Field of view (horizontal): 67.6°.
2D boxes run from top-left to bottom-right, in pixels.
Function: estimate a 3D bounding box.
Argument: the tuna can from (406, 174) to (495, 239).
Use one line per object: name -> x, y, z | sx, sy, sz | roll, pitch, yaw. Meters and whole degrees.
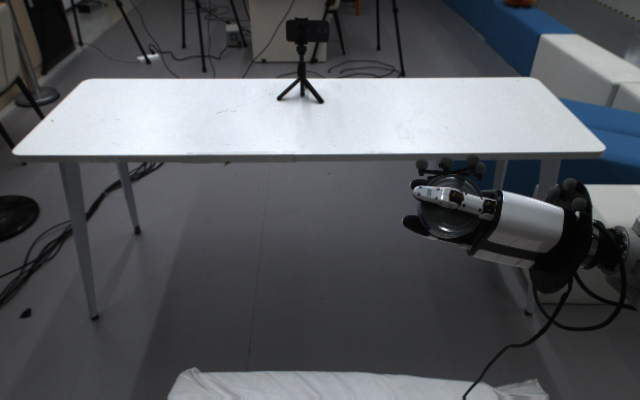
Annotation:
tuna can -> 0.179, 0.007, 0.662 | 0.085, 0.034, 0.085 | 0, 75, 1
